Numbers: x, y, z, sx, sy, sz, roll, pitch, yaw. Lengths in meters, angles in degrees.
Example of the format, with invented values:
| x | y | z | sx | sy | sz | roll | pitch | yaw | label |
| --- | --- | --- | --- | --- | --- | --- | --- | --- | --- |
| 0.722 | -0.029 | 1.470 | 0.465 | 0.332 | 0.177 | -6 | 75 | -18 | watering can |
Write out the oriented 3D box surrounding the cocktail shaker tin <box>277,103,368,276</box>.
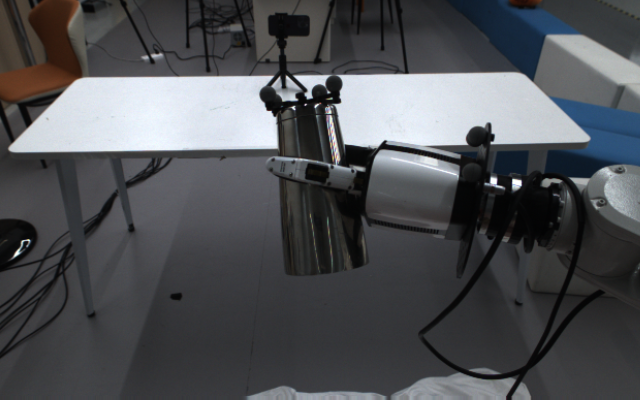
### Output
| x | y | z | sx | sy | sz | roll | pitch | yaw | label |
| --- | --- | --- | --- | --- | --- | --- | --- | --- | --- |
| -0.002 | -0.011 | 0.520 | 0.093 | 0.170 | 0.093 | -8 | 1 | 0 | cocktail shaker tin |
